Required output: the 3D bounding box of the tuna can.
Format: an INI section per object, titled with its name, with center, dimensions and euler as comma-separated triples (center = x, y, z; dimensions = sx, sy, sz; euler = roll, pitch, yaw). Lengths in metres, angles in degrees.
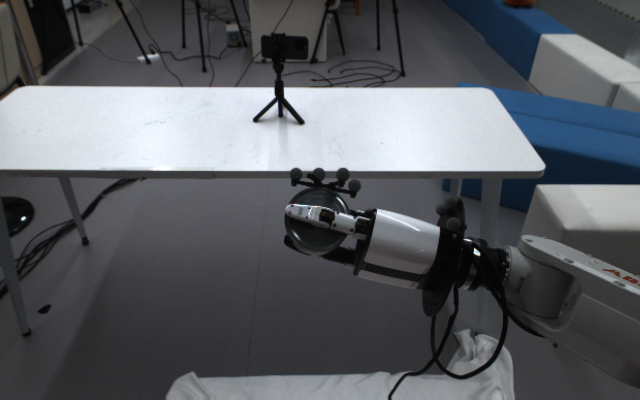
[tuna can]
center = -0.003, 0.026, 0.631
dimensions = 0.085, 0.034, 0.085
euler = 1, 73, -3
